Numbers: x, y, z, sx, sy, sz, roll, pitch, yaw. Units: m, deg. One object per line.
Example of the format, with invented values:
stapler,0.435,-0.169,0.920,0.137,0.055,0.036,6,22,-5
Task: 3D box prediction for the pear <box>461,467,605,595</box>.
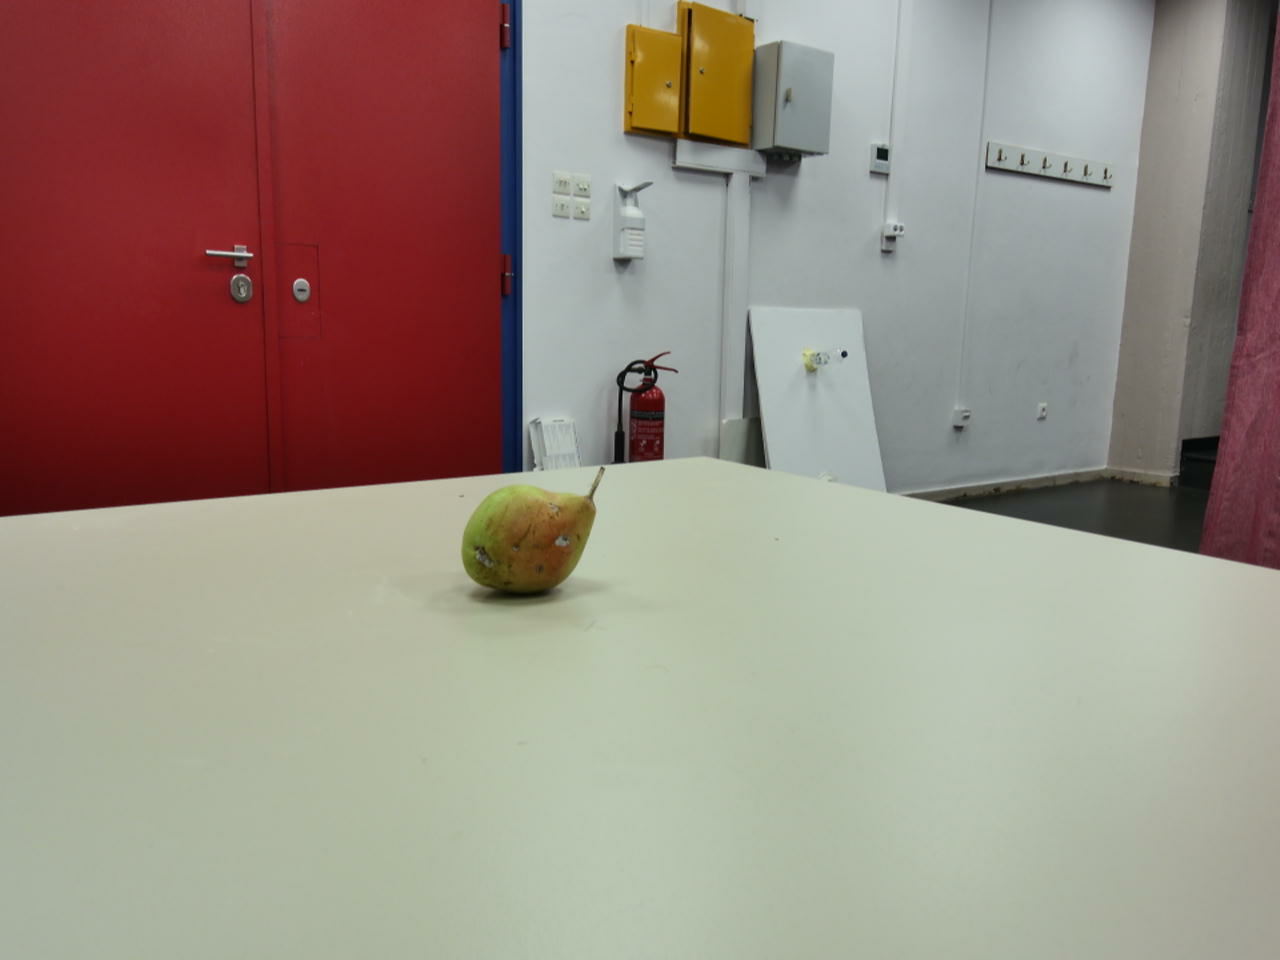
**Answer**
pear,-0.064,0.031,0.573,0.070,0.069,0.068,3,8,15
